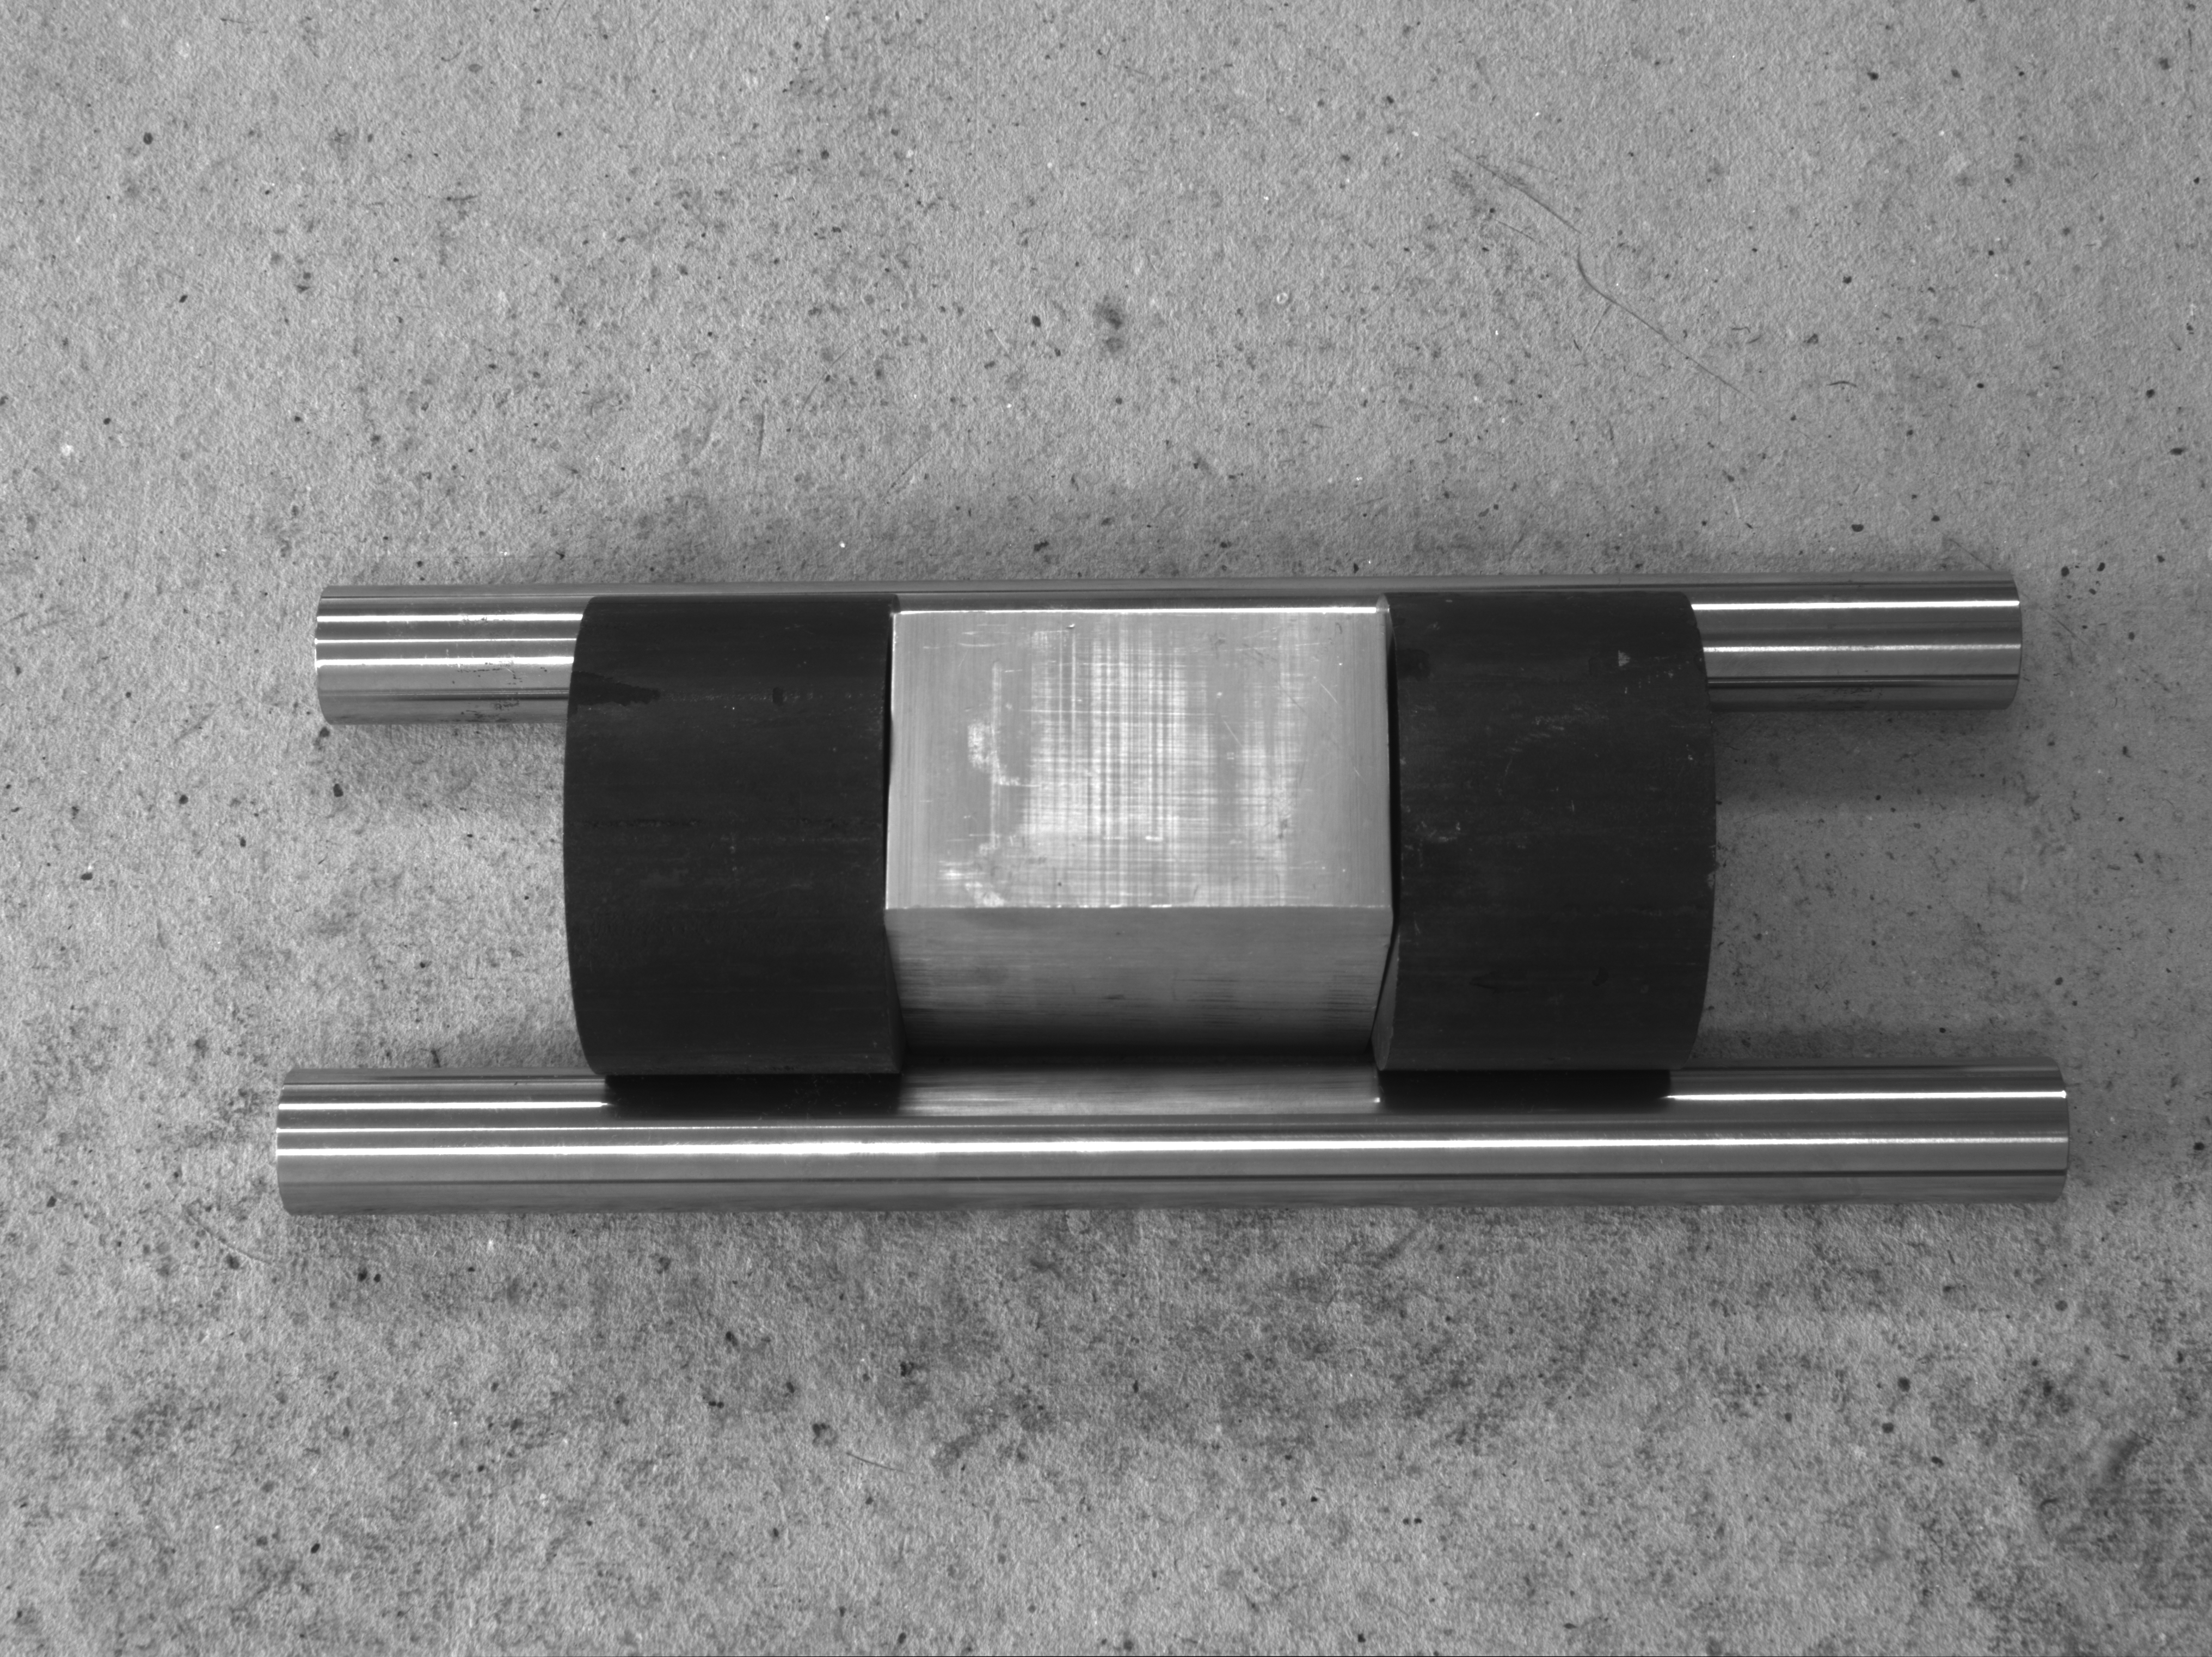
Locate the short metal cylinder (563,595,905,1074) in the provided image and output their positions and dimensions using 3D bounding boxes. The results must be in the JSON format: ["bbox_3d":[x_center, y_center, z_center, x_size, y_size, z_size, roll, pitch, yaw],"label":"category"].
[{"bbox_3d":[-0.060,0.001,0.615,0.050,0.080,0.080,-1,70,0],"label":"short metal cylinder"}]

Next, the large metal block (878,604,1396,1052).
[{"bbox_3d":[0.005,0.002,0.613,0.080,0.080,0.050,0,70,0],"label":"large metal block"}]

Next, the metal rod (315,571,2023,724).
[{"bbox_3d":[0.011,-0.032,0.658,0.300,0.025,0.025,0,70,0],"label":"metal rod"}]

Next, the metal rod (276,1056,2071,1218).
[{"bbox_3d":[0.011,0.053,0.627,0.300,0.025,0.025,0,70,0],"label":"metal rod"}]

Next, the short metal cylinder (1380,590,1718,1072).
[{"bbox_3d":[0.071,0.000,0.616,0.050,0.080,0.080,-1,70,0],"label":"short metal cylinder"}]
